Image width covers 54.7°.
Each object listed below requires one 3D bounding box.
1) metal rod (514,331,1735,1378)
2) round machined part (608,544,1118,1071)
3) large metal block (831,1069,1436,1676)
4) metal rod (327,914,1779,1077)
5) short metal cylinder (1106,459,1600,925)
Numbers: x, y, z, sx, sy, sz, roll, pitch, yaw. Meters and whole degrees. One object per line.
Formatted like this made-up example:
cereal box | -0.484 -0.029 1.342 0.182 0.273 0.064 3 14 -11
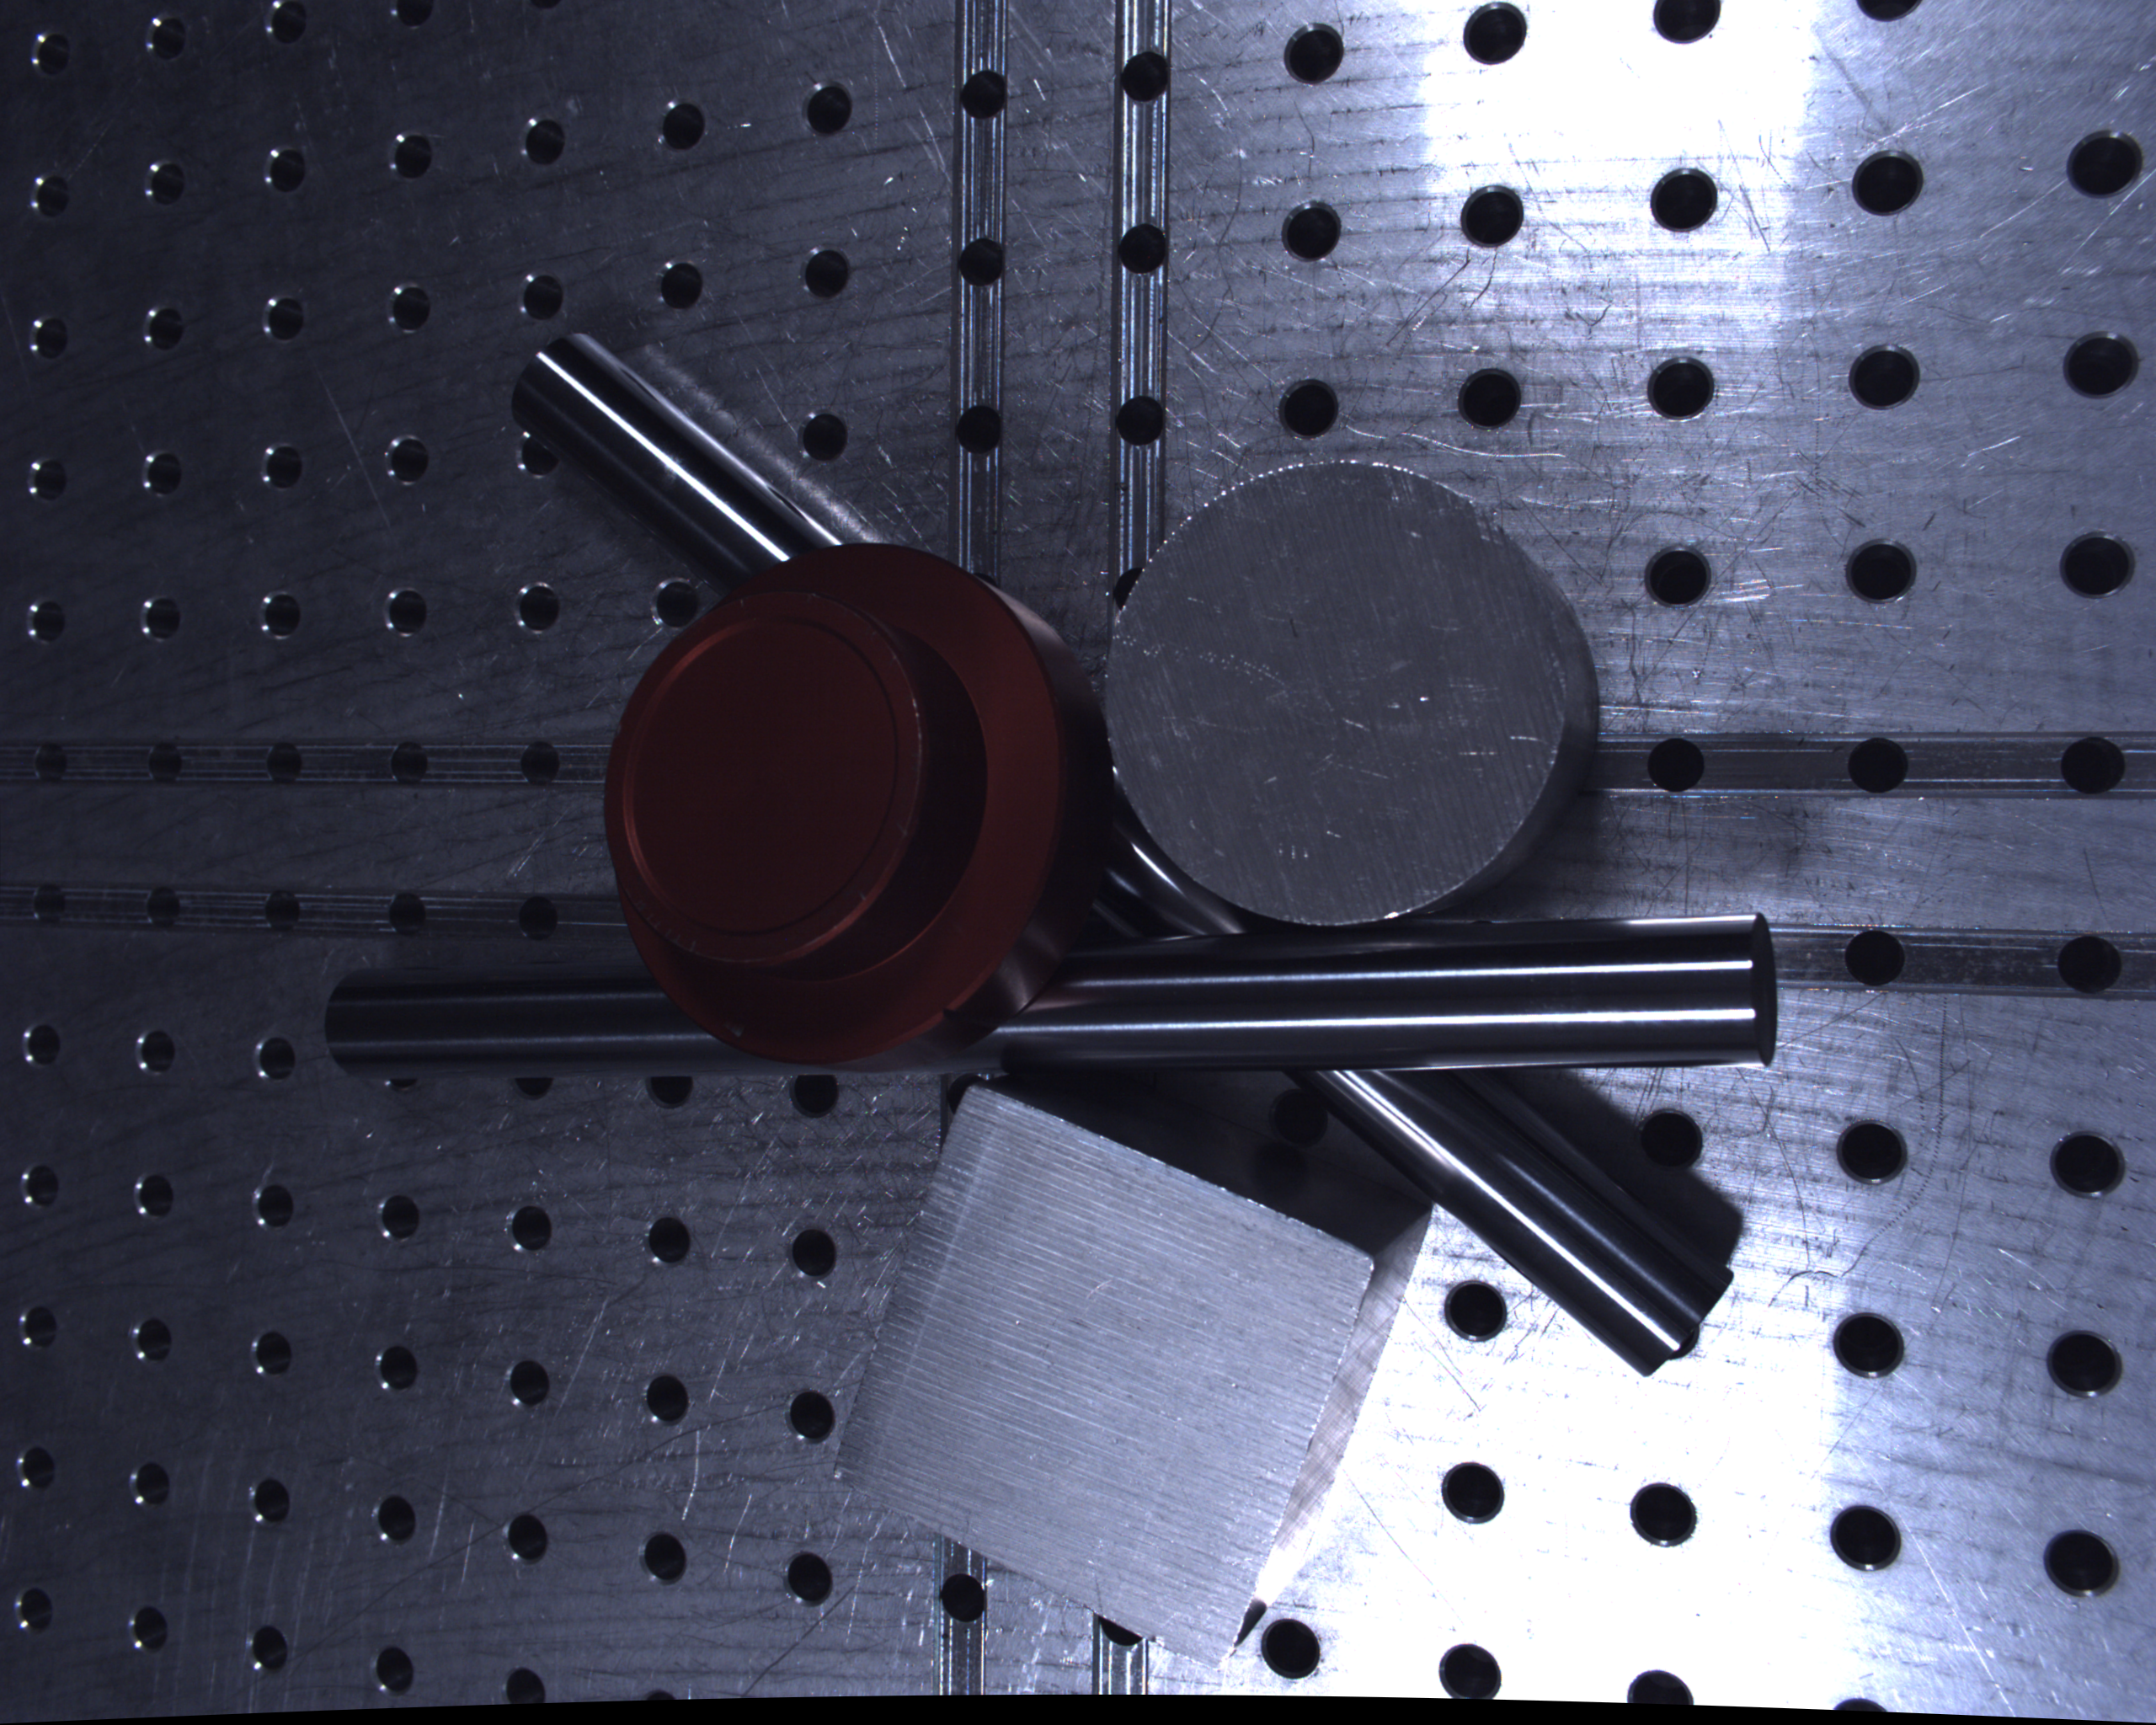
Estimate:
metal rod | -0.001 -0.011 0.412 0.300 0.025 0.025 40 103 15
round machined part | -0.046 -0.012 0.383 0.098 0.042 0.097 -4 79 25
large metal block | 0.011 0.089 0.392 0.080 0.050 0.080 21 97 18
metal rod | -0.024 0.028 0.400 0.300 0.025 0.025 -3 89 26
short metal cylinder | 0.051 -0.029 0.380 0.080 0.050 0.079 0 90 19
